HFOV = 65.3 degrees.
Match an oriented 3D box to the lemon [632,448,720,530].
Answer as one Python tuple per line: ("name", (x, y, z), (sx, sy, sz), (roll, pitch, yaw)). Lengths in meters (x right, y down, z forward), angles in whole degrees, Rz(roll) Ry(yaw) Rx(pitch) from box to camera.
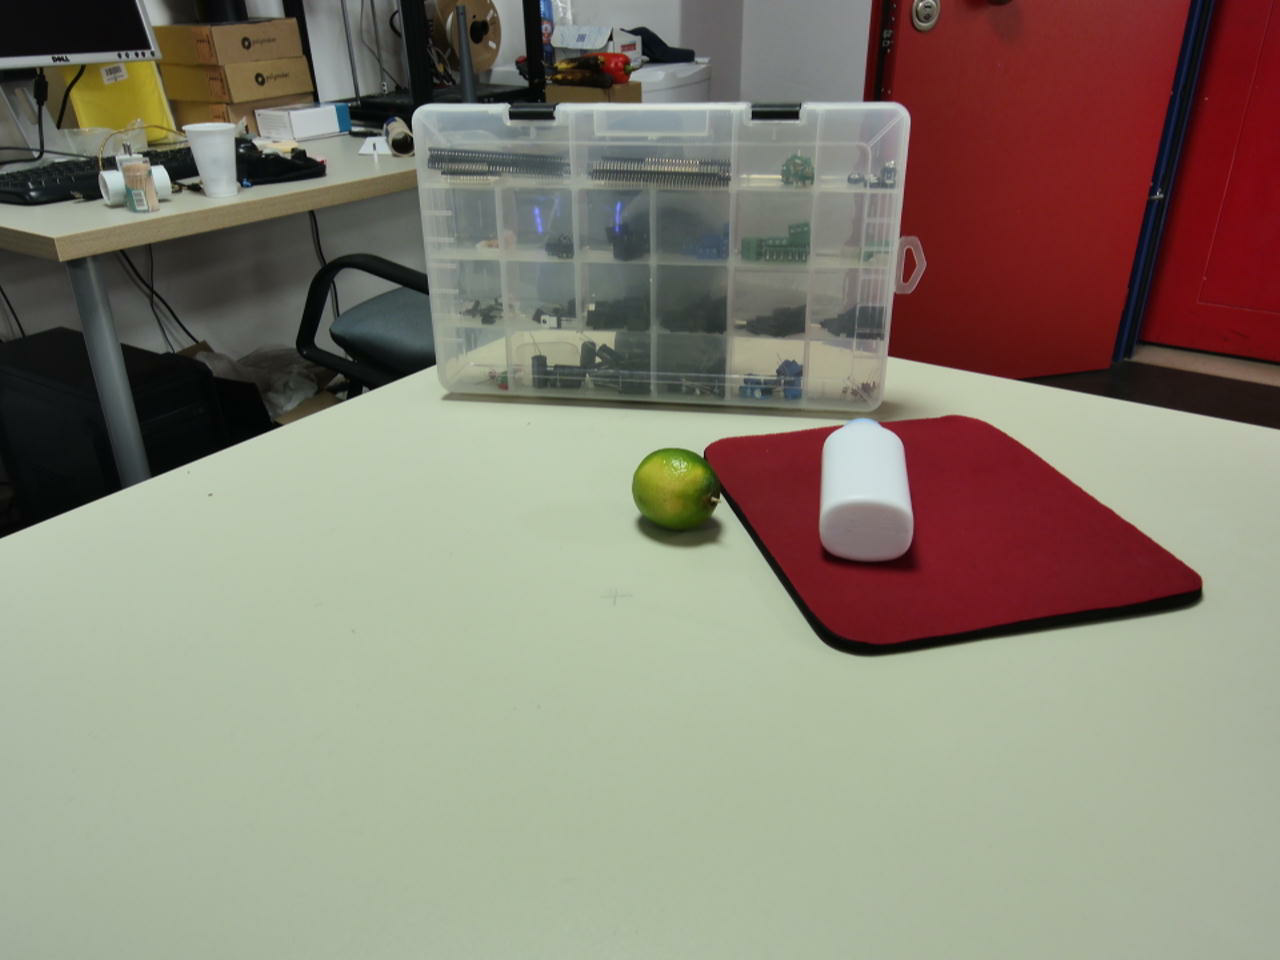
("lemon", (0.022, 0.005, 0.626), (0.054, 0.050, 0.055), (-1, 25, -4))
